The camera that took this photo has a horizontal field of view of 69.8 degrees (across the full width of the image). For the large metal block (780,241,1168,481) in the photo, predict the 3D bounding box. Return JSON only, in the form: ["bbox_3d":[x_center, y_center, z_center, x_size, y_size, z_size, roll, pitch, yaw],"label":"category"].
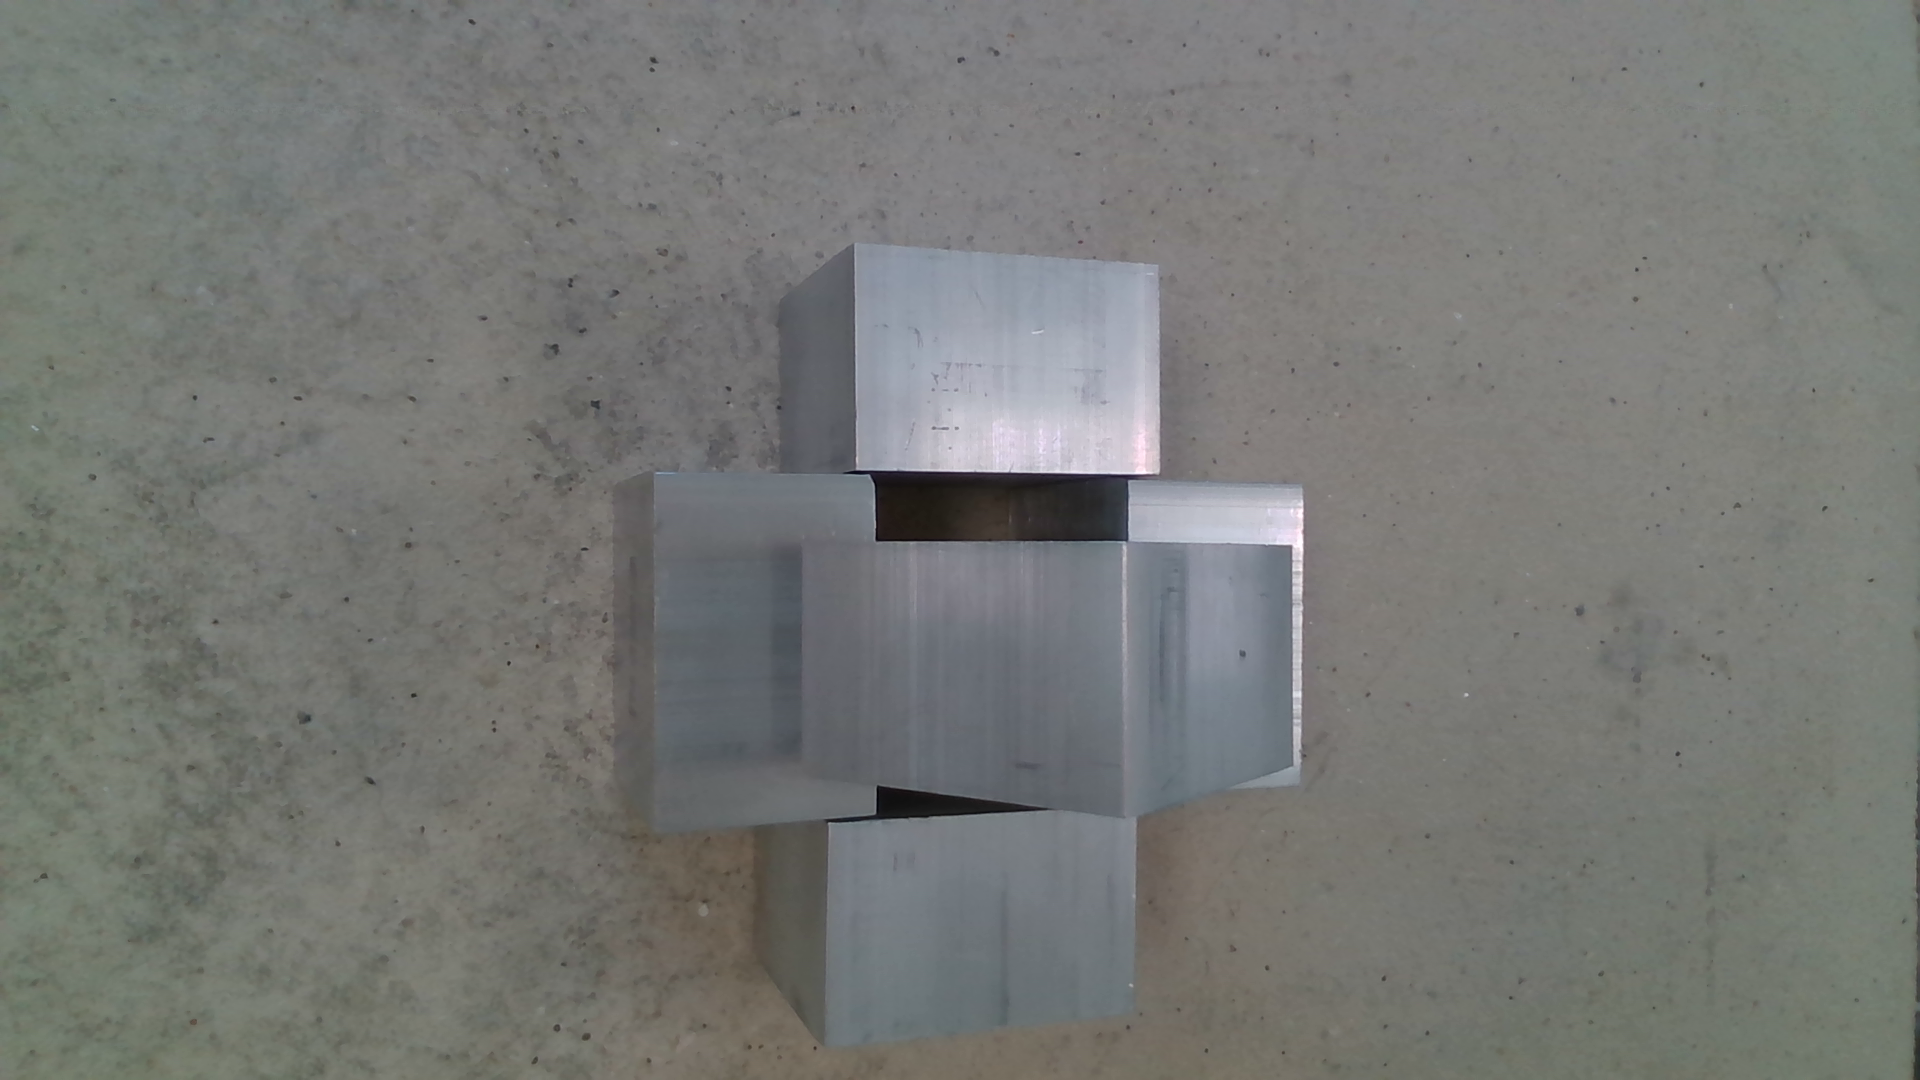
[{"bbox_3d":[0.000,-0.043,0.364,0.080,0.080,0.050,0,90,-20],"label":"large metal block"}]

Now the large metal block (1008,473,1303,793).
[{"bbox_3d":[0.051,0.024,0.384,0.050,0.080,0.080,1,90,-20],"label":"large metal block"}]

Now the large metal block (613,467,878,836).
[{"bbox_3d":[-0.057,0.024,0.345,0.050,0.080,0.080,0,90,-20],"label":"large metal block"}]

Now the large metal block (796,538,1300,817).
[{"bbox_3d":[0.021,0.025,0.303,0.080,0.080,0.050,1,89,-54],"label":"large metal block"}]

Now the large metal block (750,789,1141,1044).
[{"bbox_3d":[-0.007,0.090,0.363,0.080,0.080,0.050,1,90,-20],"label":"large metal block"}]
